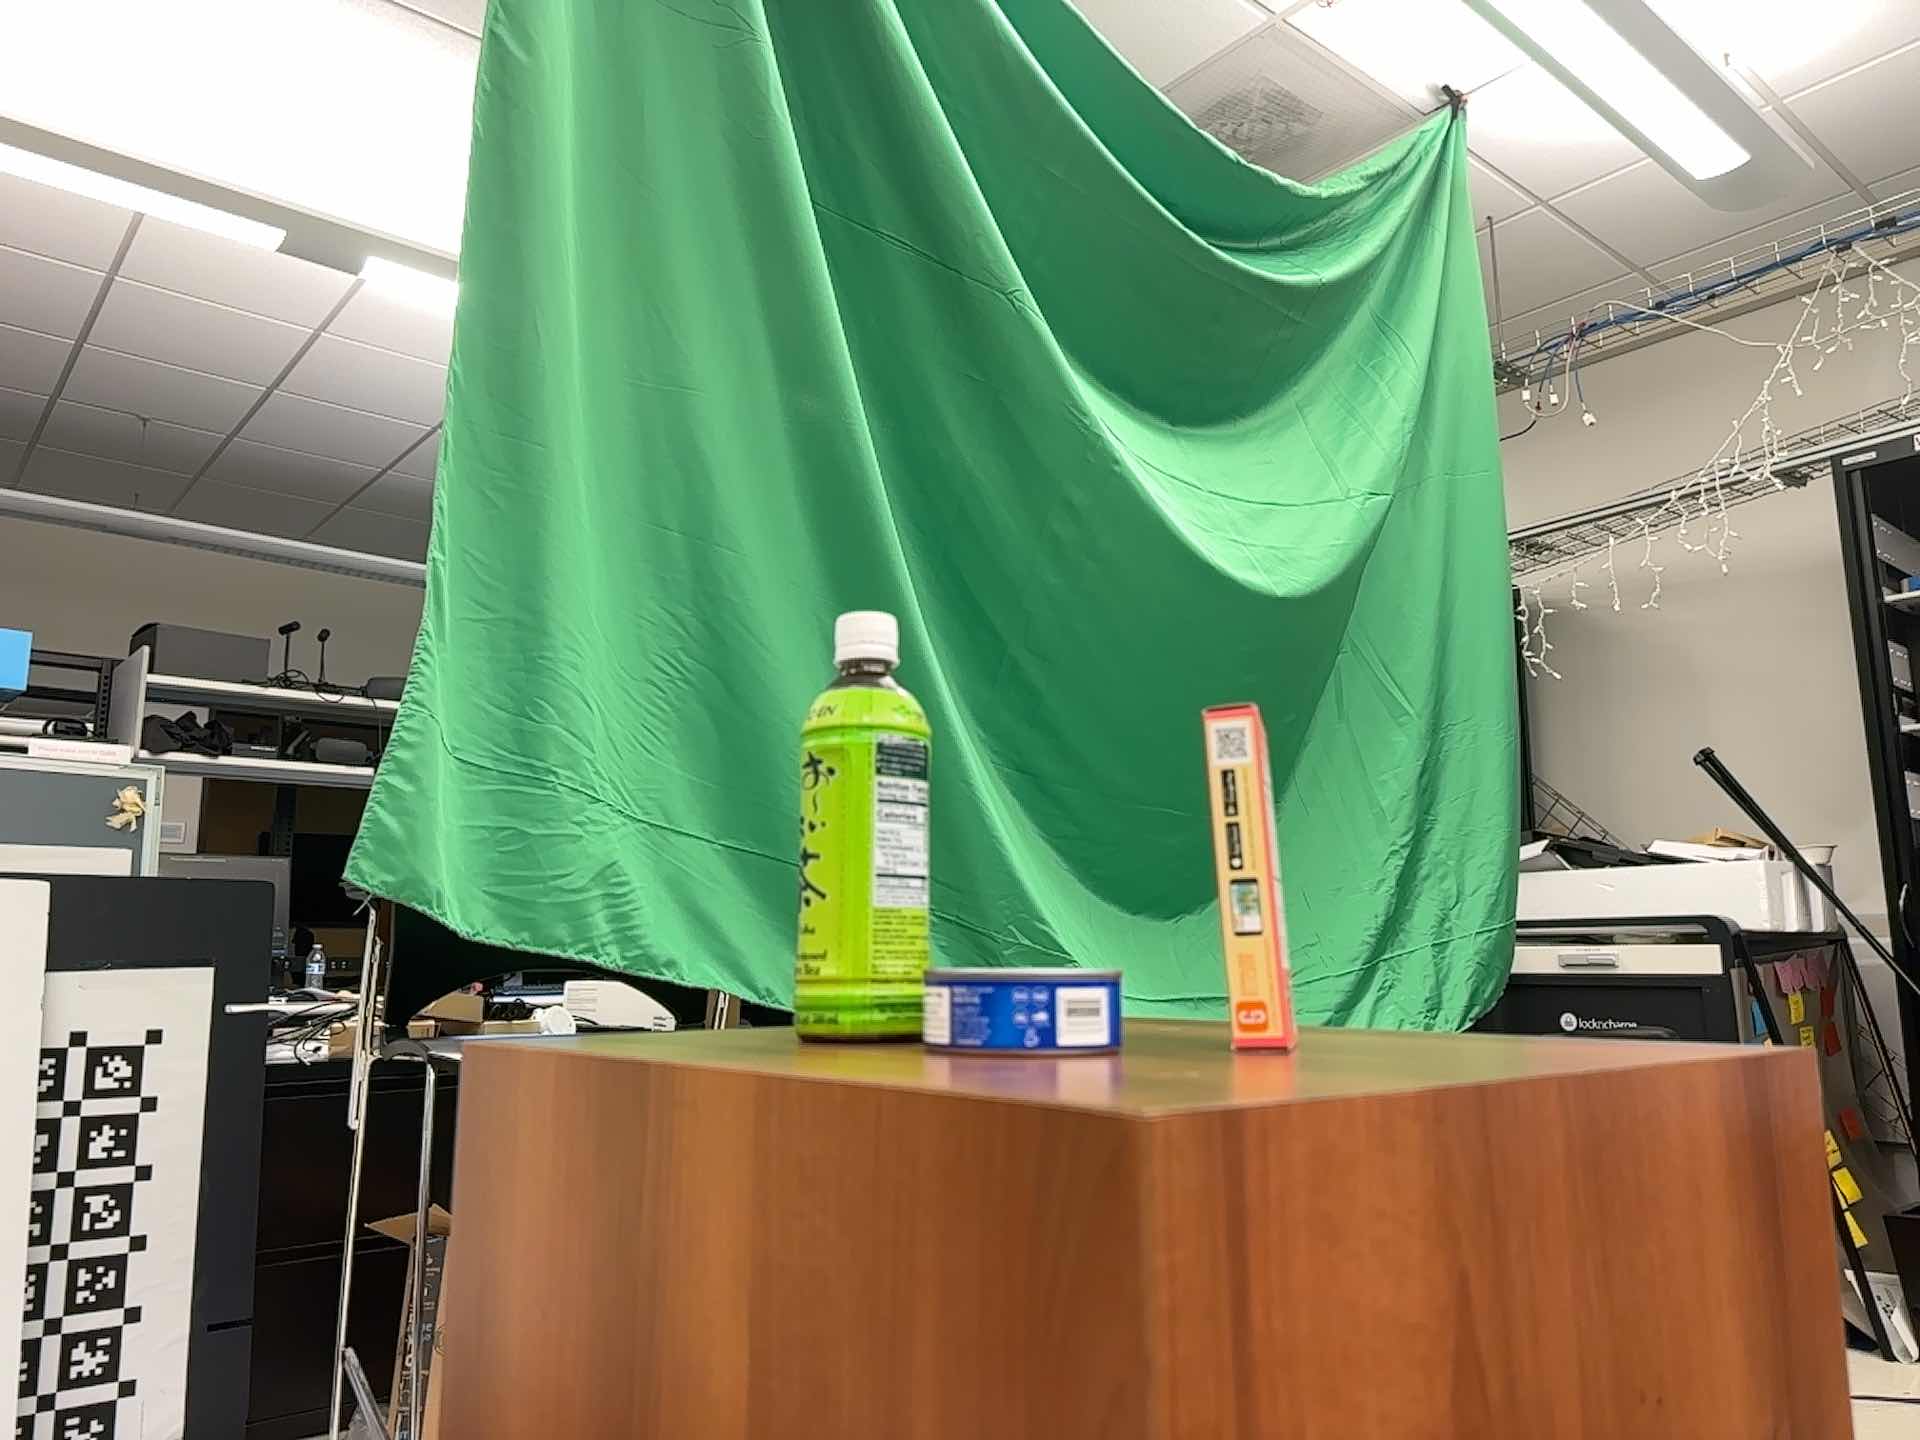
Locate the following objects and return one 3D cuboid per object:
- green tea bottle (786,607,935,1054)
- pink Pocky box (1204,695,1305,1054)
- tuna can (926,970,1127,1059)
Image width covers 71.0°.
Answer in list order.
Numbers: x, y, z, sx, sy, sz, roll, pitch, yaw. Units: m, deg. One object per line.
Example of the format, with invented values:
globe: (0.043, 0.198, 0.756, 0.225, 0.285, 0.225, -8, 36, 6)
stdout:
green tea bottle: (-0.047, 0.051, 0.652, 0.073, 0.212, 0.073, -1, -11, 0)
pink Pocky box: (0.136, 0.071, 0.620, 0.029, 0.155, 0.084, -6, -10, 14)
tuna can: (0.028, 0.122, 0.564, 0.083, 0.034, 0.083, 0, -10, 0)
